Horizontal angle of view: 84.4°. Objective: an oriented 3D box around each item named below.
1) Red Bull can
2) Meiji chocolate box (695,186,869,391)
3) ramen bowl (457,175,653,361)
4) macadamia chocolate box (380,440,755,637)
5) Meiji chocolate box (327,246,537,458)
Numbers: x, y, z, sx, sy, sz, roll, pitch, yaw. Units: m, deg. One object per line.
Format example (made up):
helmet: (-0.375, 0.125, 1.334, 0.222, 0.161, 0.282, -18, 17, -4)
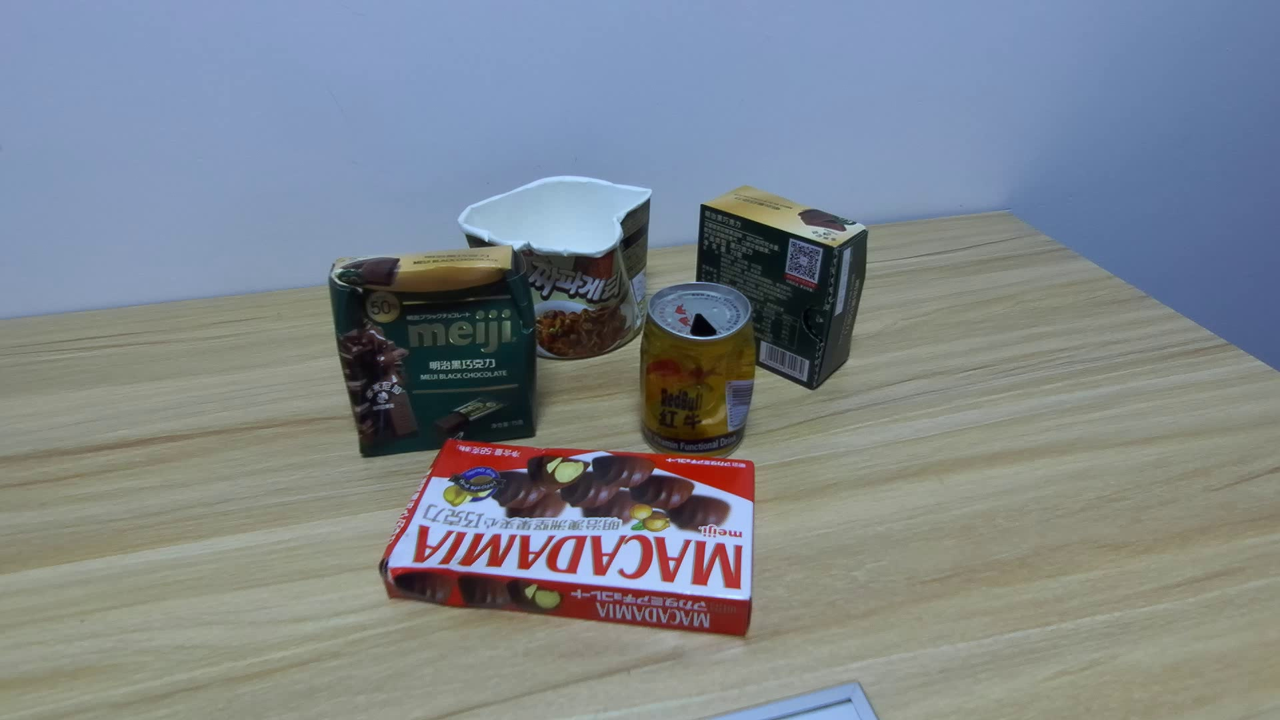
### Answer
Red Bull can: (0.033, 0.007, 0.425, 0.072, 0.092, 0.072, 1, 34, 0)
Meiji chocolate box: (0.098, -0.054, 0.497, 0.112, 0.111, 0.058, 27, 42, 34)
ramen bowl: (-0.063, -0.071, 0.536, 0.133, 0.098, 0.113, 6, 37, 8)
macadamia chocolate box: (-0.032, 0.086, 0.374, 0.183, 0.028, 0.105, 3, 35, 7)
Meiji chocolate box: (-0.123, -0.008, 0.438, 0.117, 0.117, 0.051, -6, 27, -9)
